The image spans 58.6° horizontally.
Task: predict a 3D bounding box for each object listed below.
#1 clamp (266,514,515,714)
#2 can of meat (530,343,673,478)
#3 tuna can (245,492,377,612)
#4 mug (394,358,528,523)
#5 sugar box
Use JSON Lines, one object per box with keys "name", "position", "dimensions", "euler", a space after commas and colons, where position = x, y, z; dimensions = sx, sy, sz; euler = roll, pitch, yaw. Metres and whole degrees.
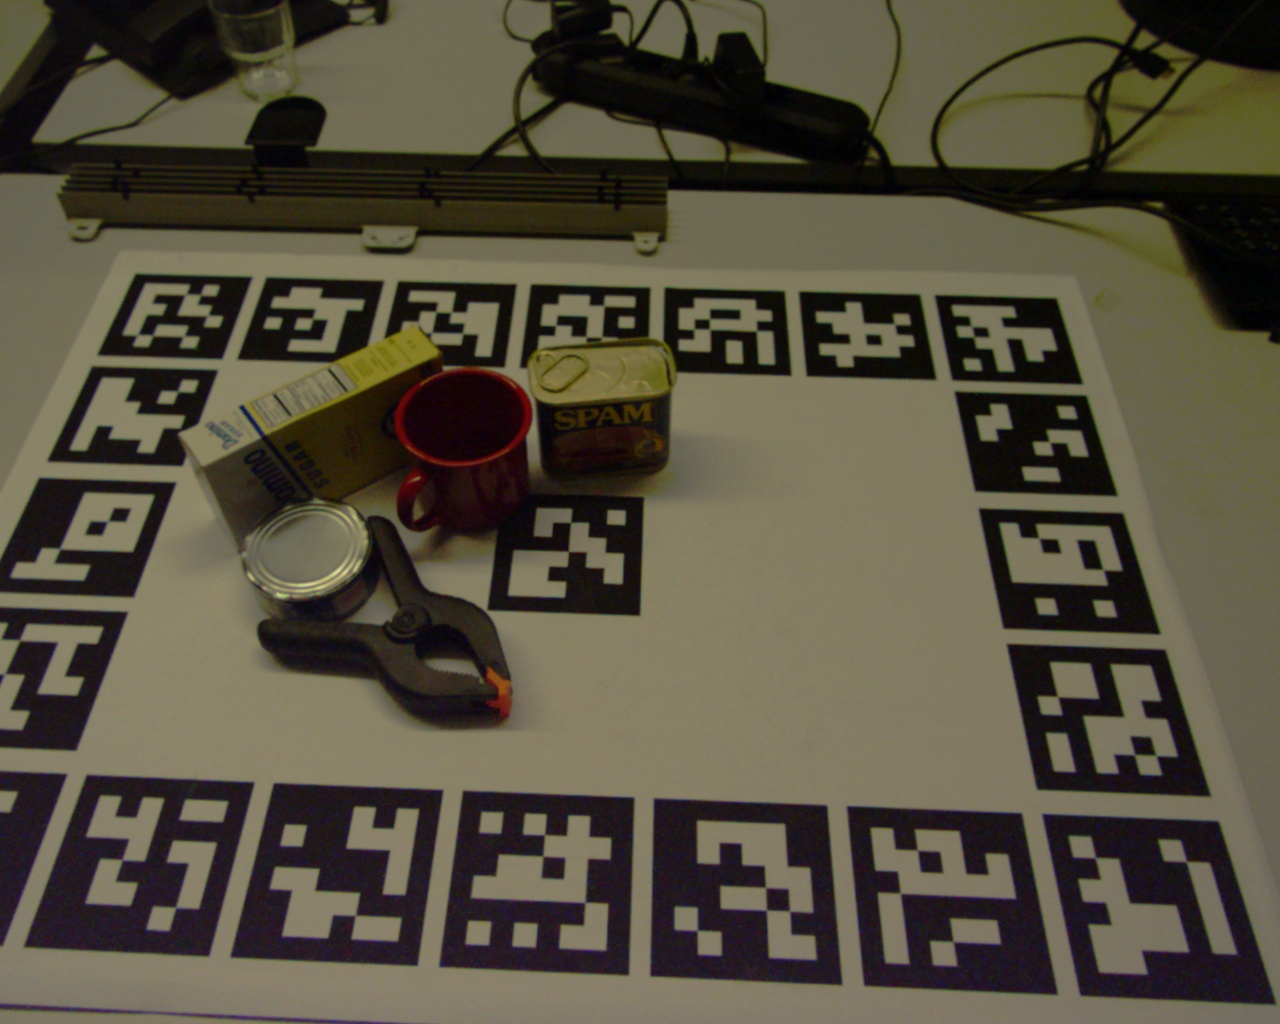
{"name": "clamp", "position": [-0.151, 0.079, 0.762], "dimensions": [0.166, 0.036, 0.121], "euler": [33, 55, 17]}
{"name": "can of meat", "position": [-0.030, -0.074, 0.850], "dimensions": [0.101, 0.083, 0.058], "euler": [-5, 52, -6]}
{"name": "tuna can", "position": [-0.228, 0.030, 0.793], "dimensions": [0.086, 0.033, 0.086], "euler": [0, 54, 0]}
{"name": "mug", "position": [-0.130, -0.041, 0.815], "dimensions": [0.094, 0.081, 0.117], "euler": [22, 57, 15]}
{"name": "sugar box", "position": [-0.223, -0.053, 0.828], "dimensions": [0.175, 0.092, 0.046], "euler": [-30, 57, -23]}
